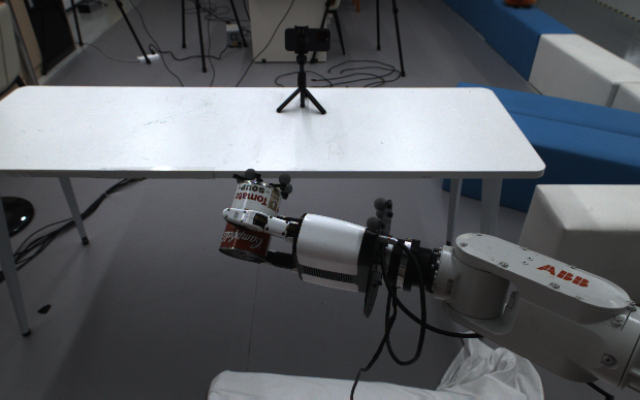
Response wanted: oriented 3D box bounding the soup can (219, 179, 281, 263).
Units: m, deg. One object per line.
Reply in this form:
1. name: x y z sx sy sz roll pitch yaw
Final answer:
1. soup can: -0.097 0.032 0.687 0.067 0.067 0.101 9 72 10
